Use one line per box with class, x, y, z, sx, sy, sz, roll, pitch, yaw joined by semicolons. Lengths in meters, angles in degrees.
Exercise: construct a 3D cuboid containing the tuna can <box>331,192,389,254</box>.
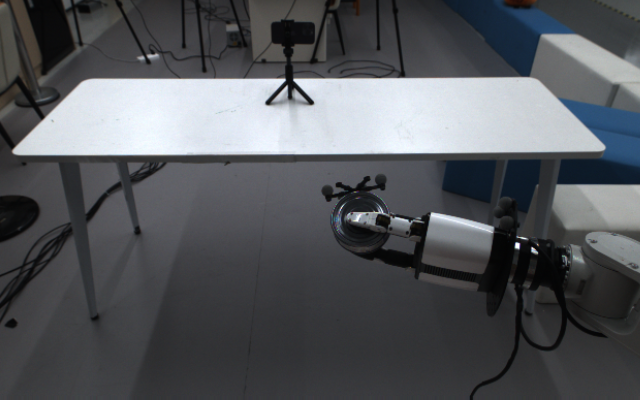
tuna can;0.063;0.037;0.683;0.085;0.034;0.085;-4;68;9
